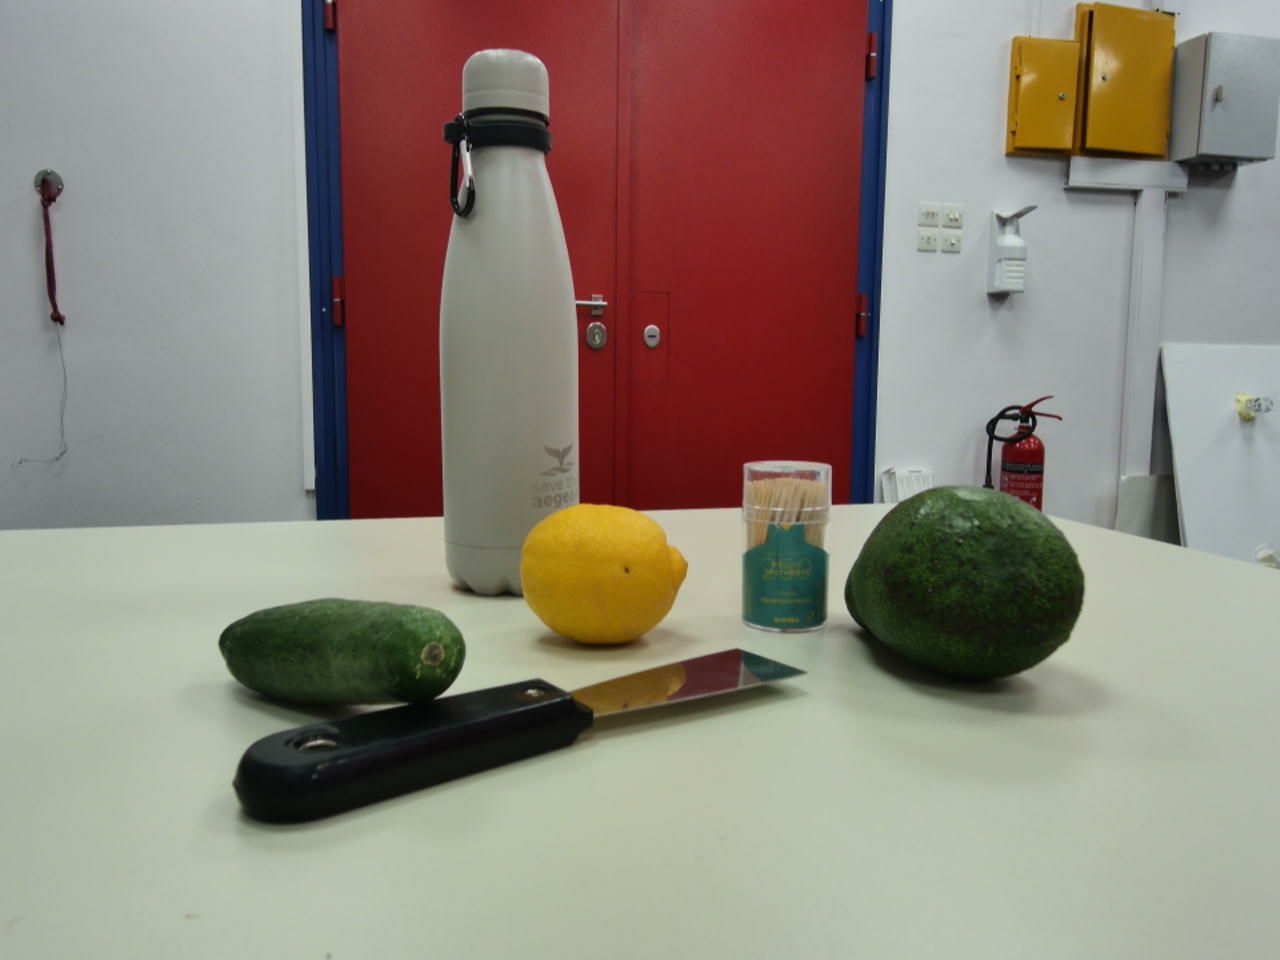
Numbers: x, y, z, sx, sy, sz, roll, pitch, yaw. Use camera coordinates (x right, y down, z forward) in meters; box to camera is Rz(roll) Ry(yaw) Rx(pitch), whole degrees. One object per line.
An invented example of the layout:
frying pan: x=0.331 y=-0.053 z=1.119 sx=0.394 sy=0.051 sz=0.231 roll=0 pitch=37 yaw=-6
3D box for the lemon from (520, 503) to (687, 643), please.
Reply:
lemon: x=-0.017 y=0.040 z=0.429 sx=0.067 sy=0.059 sz=0.060 roll=3 pitch=5 yaw=29
